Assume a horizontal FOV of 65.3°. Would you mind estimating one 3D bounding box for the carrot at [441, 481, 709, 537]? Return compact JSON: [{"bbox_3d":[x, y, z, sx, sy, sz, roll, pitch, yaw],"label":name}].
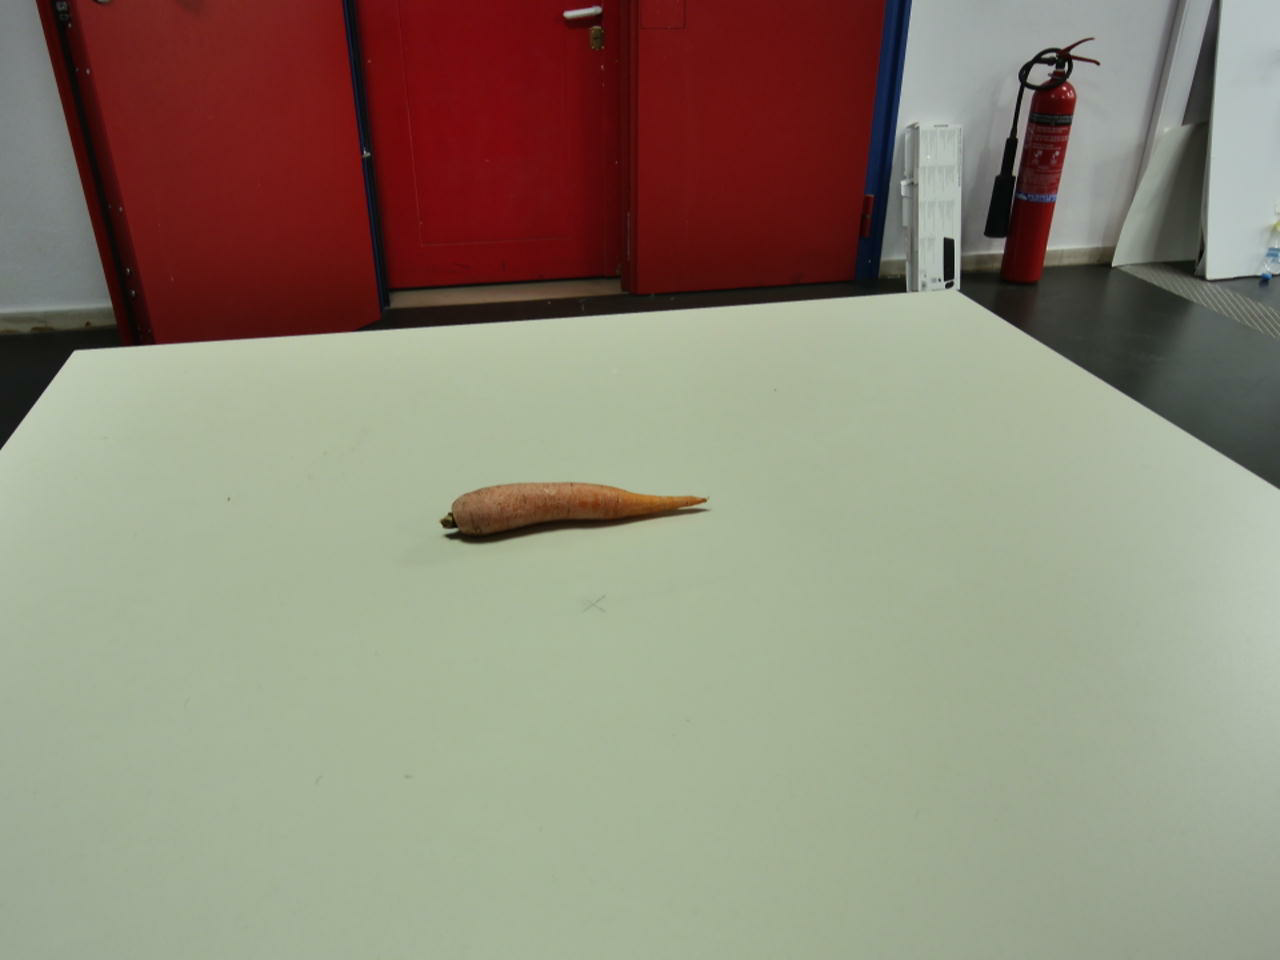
[{"bbox_3d":[-0.038,0.013,0.611,0.163,0.029,0.031,-6,27,-11],"label":"carrot"}]
